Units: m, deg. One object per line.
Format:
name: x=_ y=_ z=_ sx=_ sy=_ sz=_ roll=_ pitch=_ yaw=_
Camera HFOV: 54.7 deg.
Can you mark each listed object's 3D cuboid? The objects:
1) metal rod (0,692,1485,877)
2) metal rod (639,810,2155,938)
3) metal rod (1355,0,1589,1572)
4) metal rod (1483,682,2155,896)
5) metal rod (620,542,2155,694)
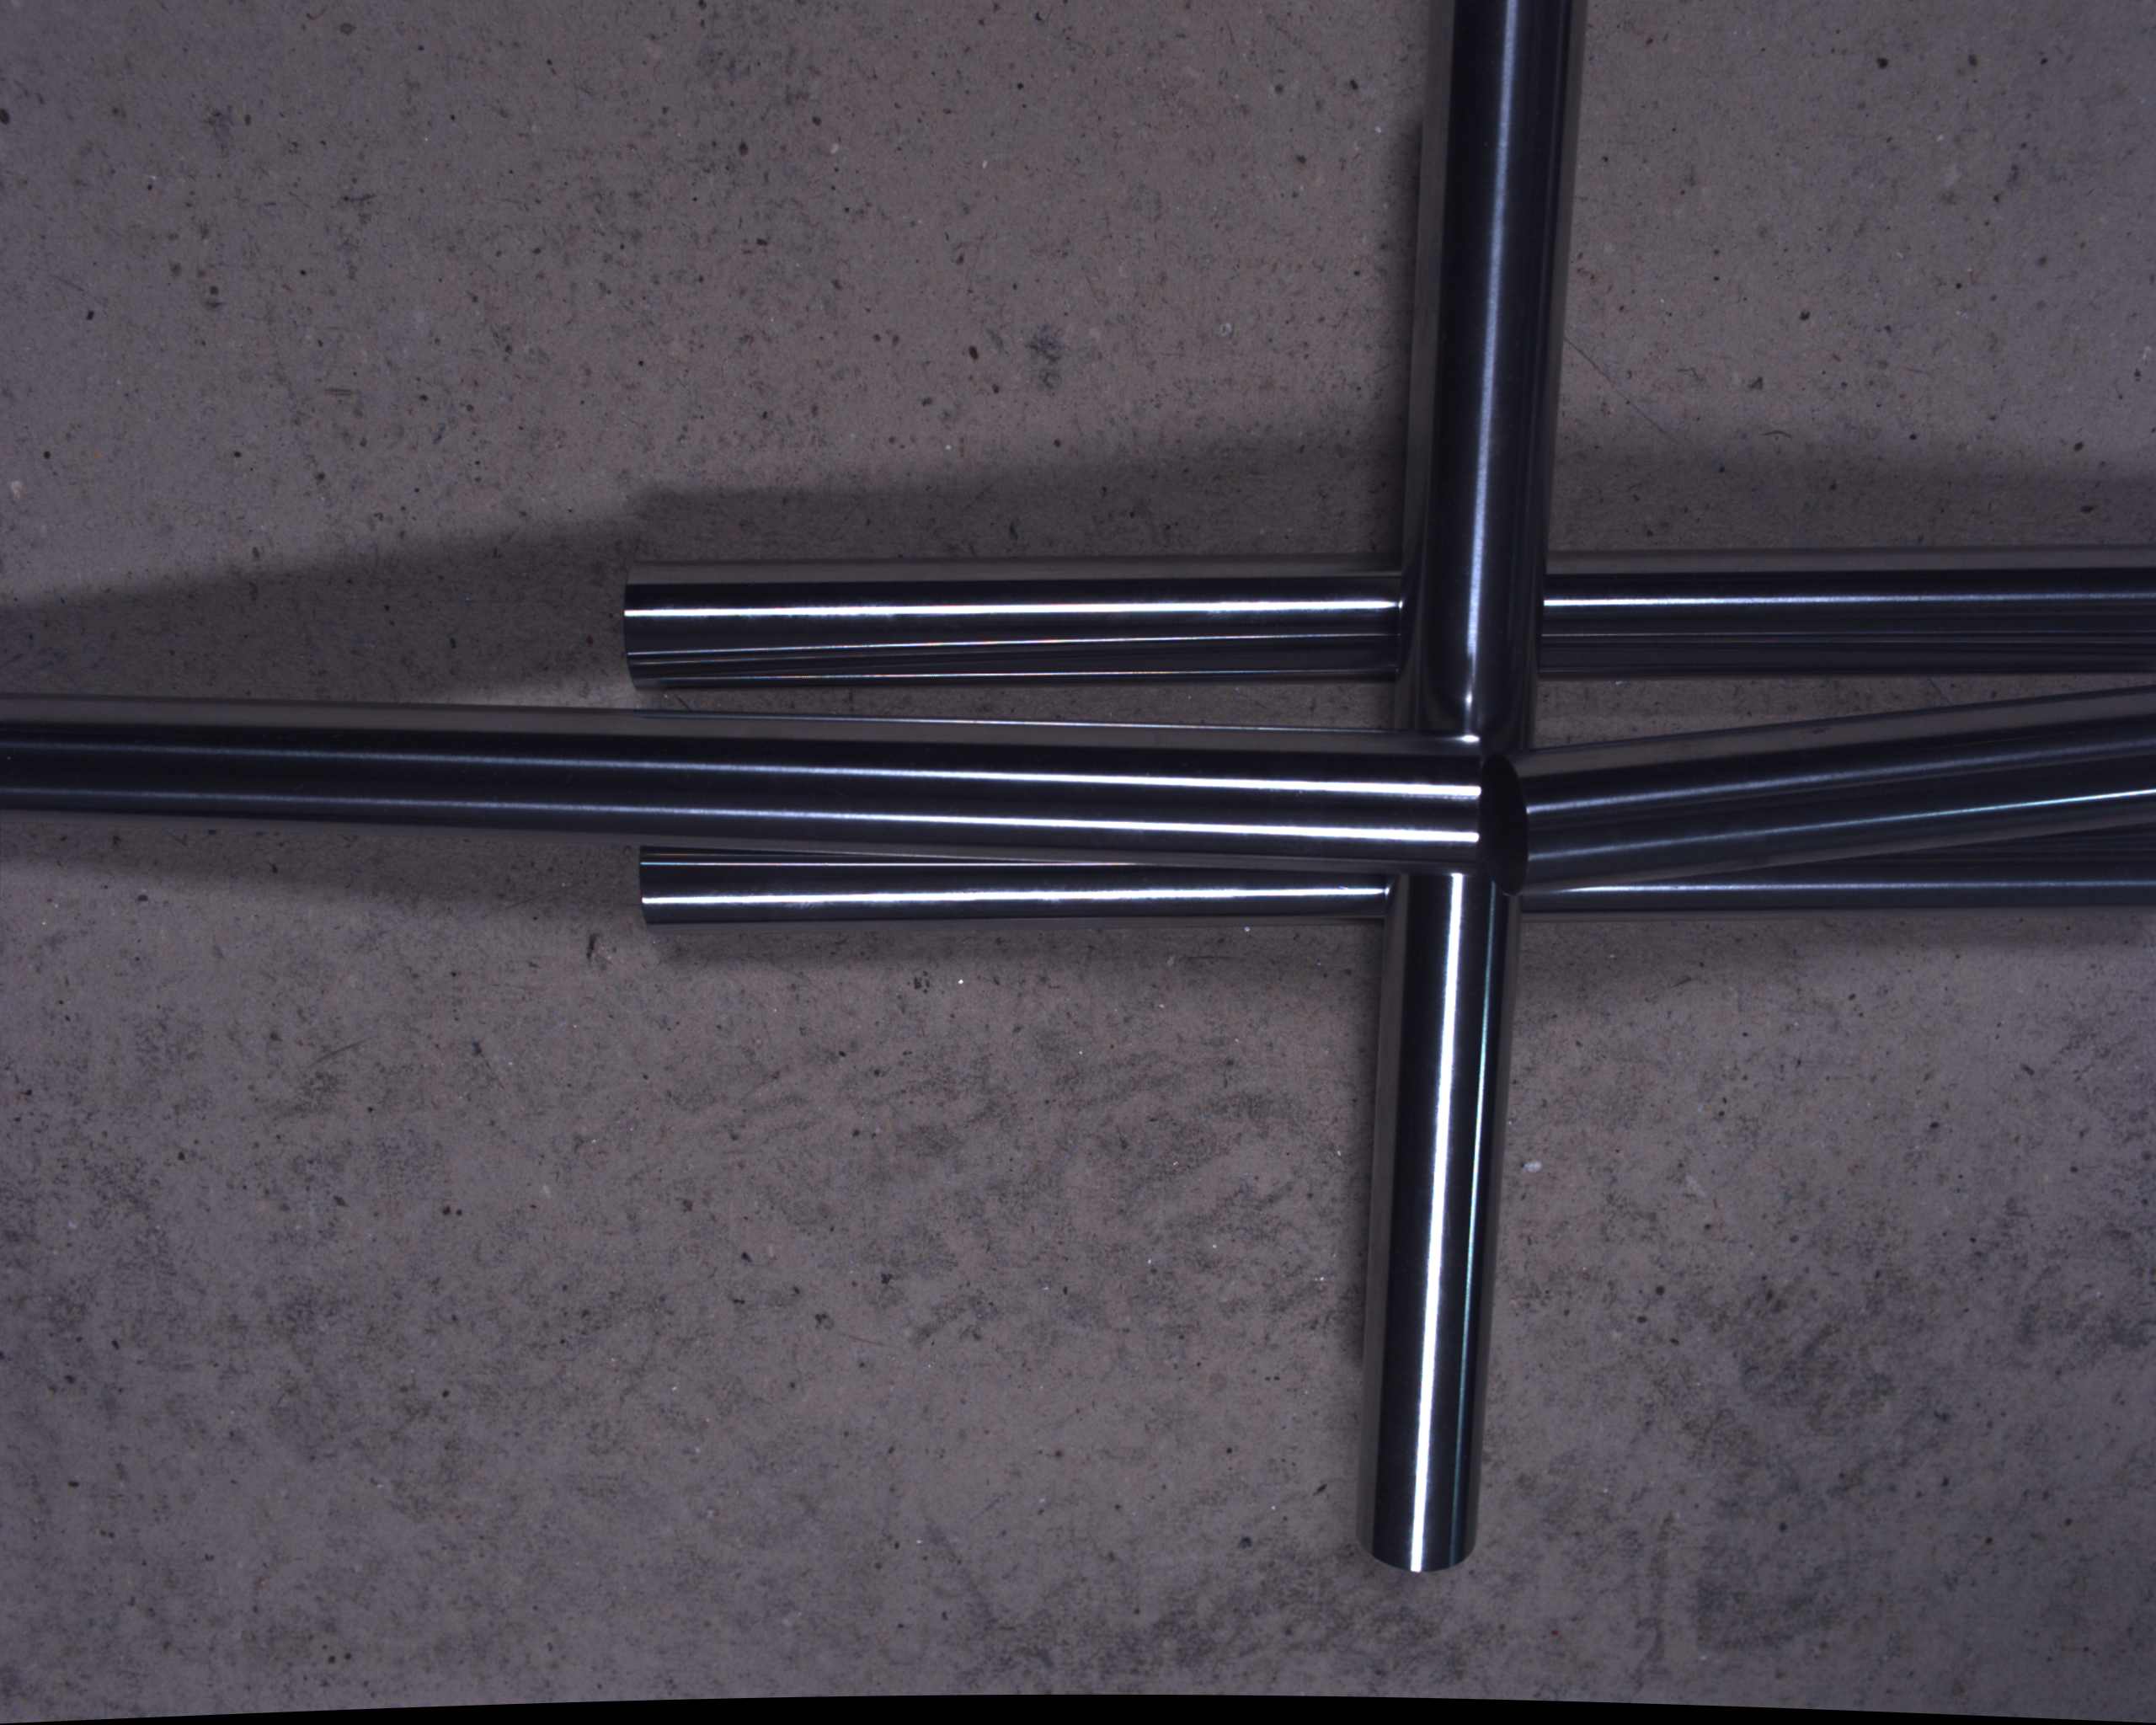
metal rod: x=-0.080 y=-0.015 z=0.377 sx=0.302 sy=0.025 sz=0.025 roll=2 pitch=111 yaw=9
metal rod: x=0.067 y=0.000 z=0.411 sx=0.302 sy=0.025 sz=0.025 roll=-1 pitch=110 yaw=-1
metal rod: x=0.070 y=0.001 z=0.386 sx=0.025 sy=0.025 sz=0.298 roll=0 pitch=110 yaw=0
metal rod: x=0.220 y=-0.023 z=0.379 sx=0.302 sy=0.025 sz=0.025 roll=-6 pitch=111 yaw=-9
metal rod: x=0.067 y=-0.046 z=0.394 sx=0.302 sy=0.025 sz=0.025 roll=-1 pitch=110 yaw=-1
